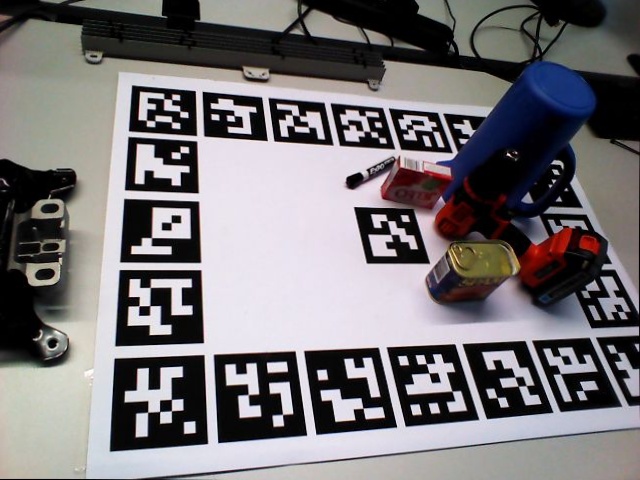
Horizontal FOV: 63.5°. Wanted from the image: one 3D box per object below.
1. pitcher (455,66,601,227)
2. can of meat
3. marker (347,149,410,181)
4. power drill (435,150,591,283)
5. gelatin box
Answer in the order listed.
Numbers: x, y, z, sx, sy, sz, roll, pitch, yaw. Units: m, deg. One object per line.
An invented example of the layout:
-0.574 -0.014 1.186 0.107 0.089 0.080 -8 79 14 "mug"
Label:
0.317 -0.127 0.778 0.189 0.244 0.132 26 57 8 "pitcher"
0.208 0.048 0.718 0.102 0.084 0.057 1 56 -17 "can of meat"
0.094 -0.121 0.834 0.120 0.020 0.019 -24 68 -27 "marker"
0.277 -0.029 0.731 0.187 0.186 0.057 34 57 -1 "power drill"
0.159 -0.086 0.801 0.089 0.074 0.030 12 59 -11 "gelatin box"
